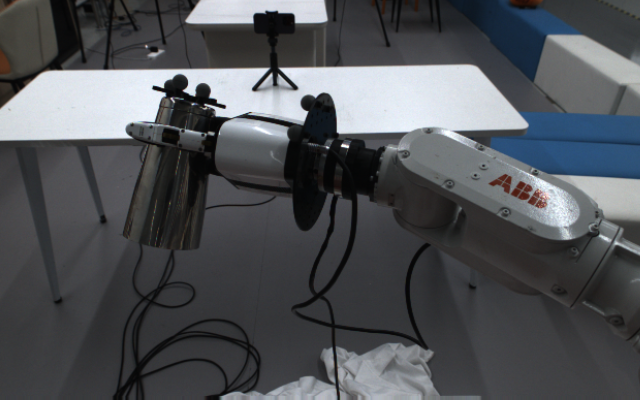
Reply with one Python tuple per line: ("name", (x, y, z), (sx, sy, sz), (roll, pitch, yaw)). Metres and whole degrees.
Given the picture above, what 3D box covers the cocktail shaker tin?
("cocktail shaker tin", (-0.176, -0.034, 0.593), (0.093, 0.170, 0.093), (13, 3, -1))
